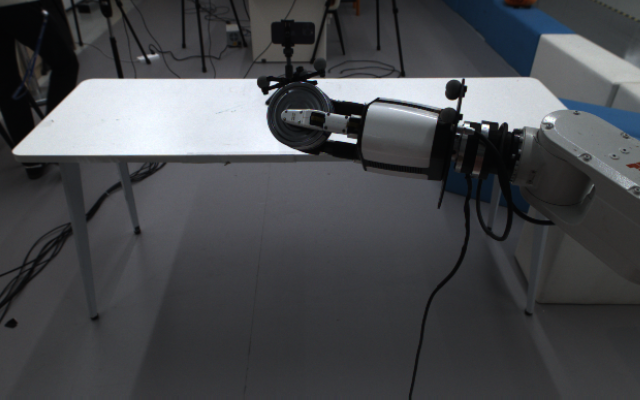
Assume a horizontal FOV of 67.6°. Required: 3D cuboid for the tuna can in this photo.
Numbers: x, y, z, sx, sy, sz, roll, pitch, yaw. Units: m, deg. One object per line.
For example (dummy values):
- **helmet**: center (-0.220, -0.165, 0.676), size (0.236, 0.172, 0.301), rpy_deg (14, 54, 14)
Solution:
- **tuna can**: center (-0.021, -0.104, 0.627), size (0.085, 0.085, 0.034), rpy_deg (12, 3, 14)
